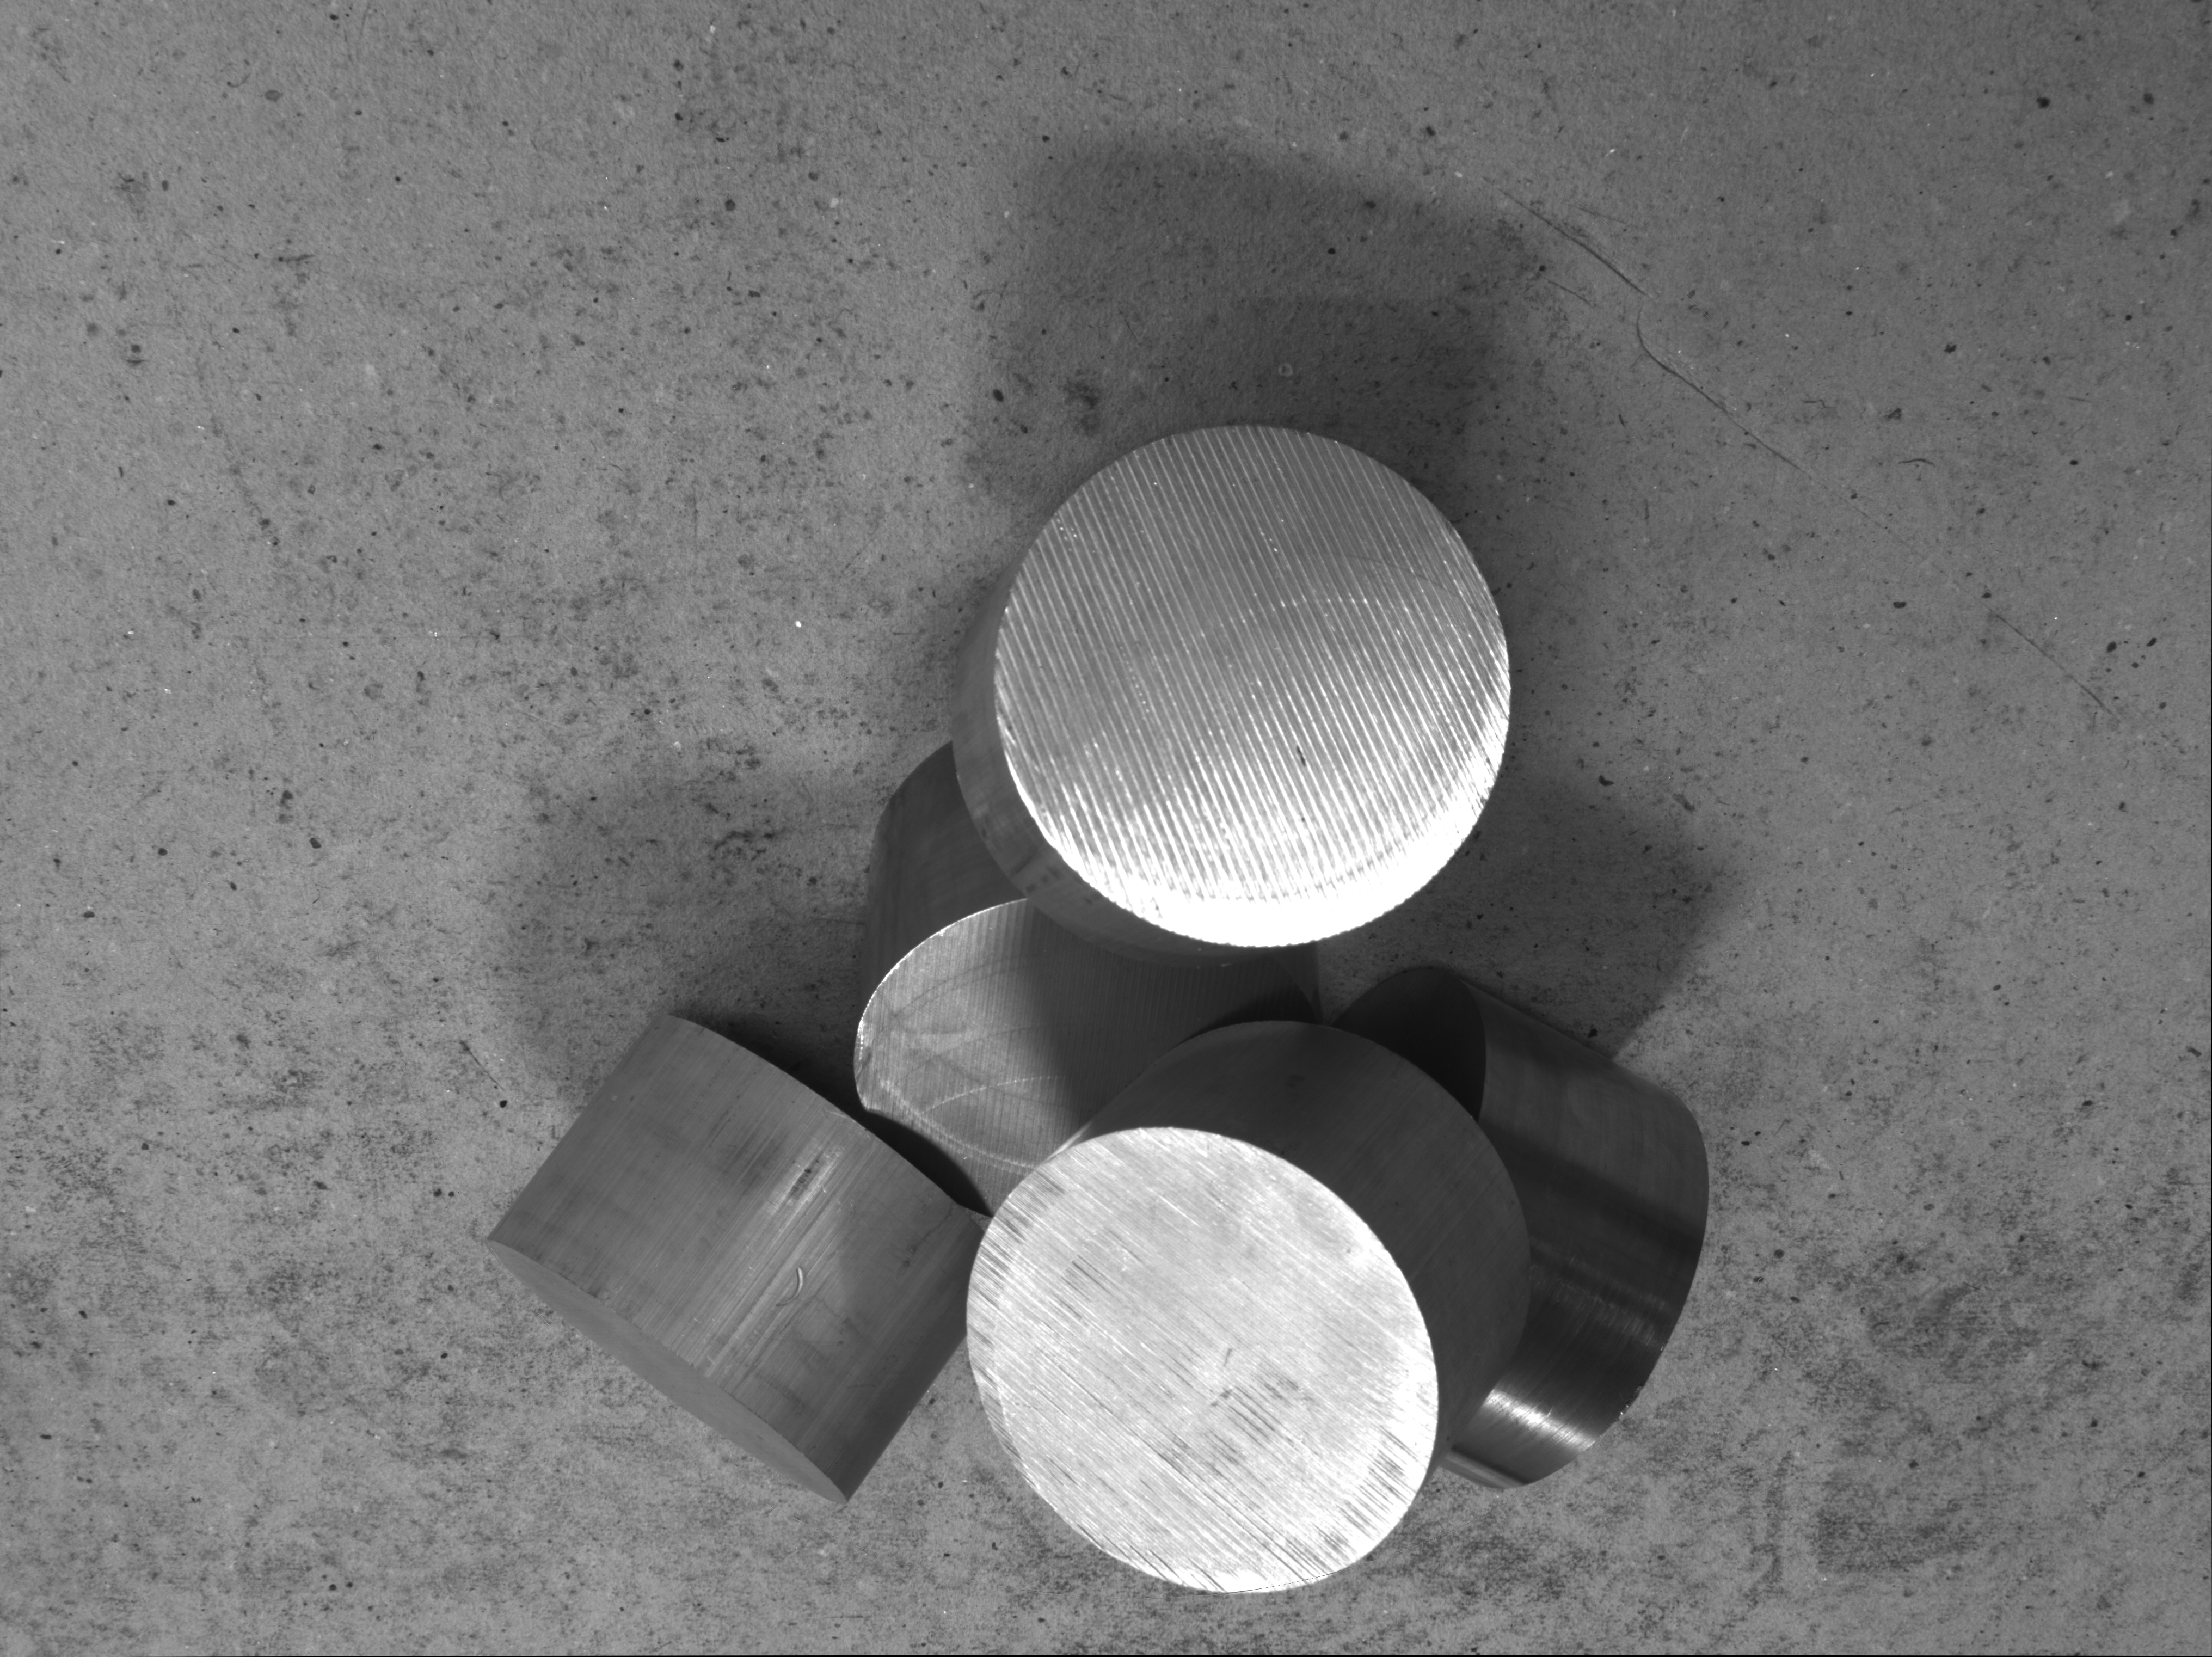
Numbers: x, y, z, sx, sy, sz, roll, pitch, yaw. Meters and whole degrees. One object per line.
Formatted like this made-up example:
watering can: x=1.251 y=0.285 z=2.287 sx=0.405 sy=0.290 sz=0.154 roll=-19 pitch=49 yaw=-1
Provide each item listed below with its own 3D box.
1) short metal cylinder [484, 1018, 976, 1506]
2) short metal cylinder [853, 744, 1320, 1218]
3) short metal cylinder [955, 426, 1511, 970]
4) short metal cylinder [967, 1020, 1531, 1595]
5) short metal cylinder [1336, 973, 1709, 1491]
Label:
short metal cylinder: x=-0.065 y=0.078 z=0.662 sx=0.080 sy=0.050 sz=0.080 roll=33 pitch=163 yaw=11
short metal cylinder: x=-0.003 y=0.025 z=0.644 sx=0.080 sy=0.050 sz=0.080 roll=0 pitch=129 yaw=0
short metal cylinder: x=0.019 y=-0.019 z=0.580 sx=0.080 sy=0.080 sz=0.050 roll=10 pitch=172 yaw=-9
short metal cylinder: x=0.024 y=0.078 z=0.601 sx=0.080 sy=0.050 sz=0.080 roll=7 pitch=110 yaw=21
short metal cylinder: x=0.064 y=0.073 z=0.665 sx=0.050 sy=0.080 sz=0.080 roll=28 pitch=125 yaw=-21
